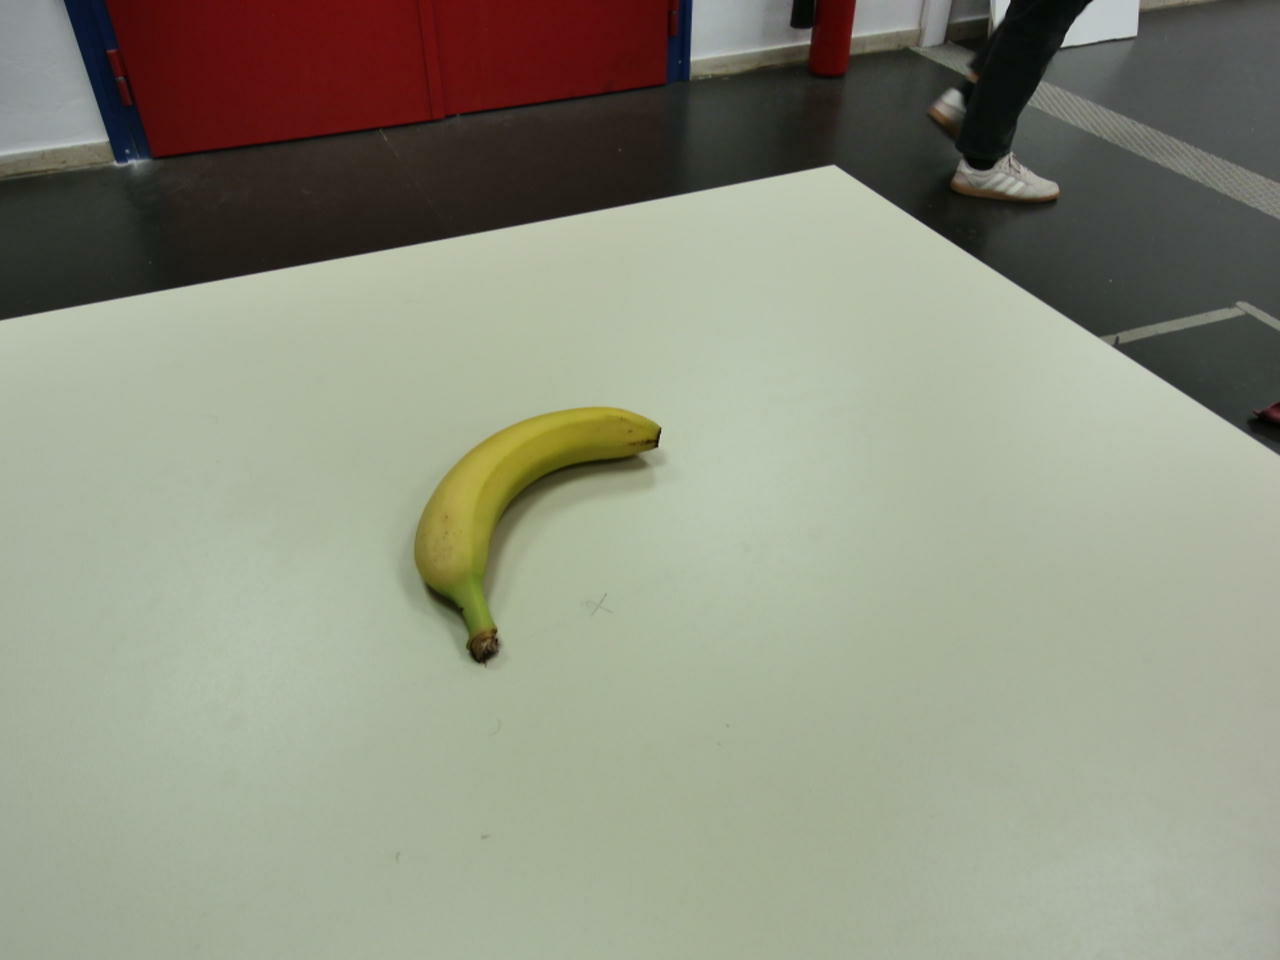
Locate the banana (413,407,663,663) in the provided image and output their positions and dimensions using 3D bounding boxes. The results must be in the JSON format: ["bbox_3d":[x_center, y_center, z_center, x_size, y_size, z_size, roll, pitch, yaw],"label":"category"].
[{"bbox_3d":[-0.070,0.011,0.577,0.094,0.041,0.196,20,42,22],"label":"banana"}]
